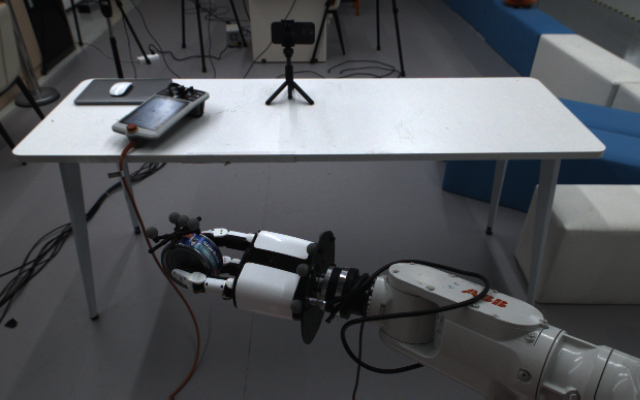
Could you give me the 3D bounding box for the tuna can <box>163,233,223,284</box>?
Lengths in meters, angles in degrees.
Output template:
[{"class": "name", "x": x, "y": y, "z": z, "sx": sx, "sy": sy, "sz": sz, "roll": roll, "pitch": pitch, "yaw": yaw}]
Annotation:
[{"class": "tuna can", "x": -0.187, "y": 0.091, "z": 0.711, "sx": 0.085, "sy": 0.085, "sz": 0.034, "roll": 11, "pitch": 34, "yaw": 13}]
